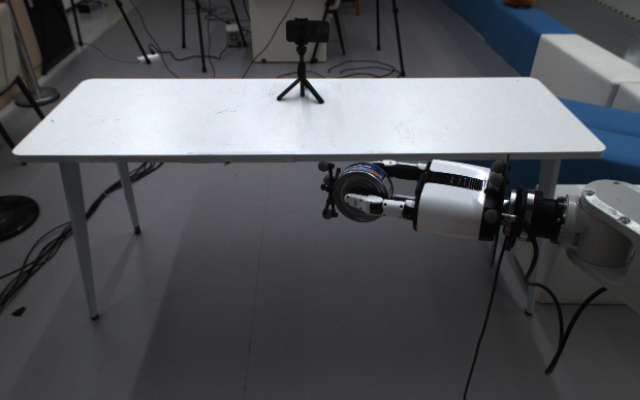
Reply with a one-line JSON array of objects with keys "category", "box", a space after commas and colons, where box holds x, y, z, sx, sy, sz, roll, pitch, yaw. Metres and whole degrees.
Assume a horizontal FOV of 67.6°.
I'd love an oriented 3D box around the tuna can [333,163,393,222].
[{"category": "tuna can", "box": [0.066, -0.010, 0.712, 0.085, 0.085, 0.034, 12, 27, 15]}]
